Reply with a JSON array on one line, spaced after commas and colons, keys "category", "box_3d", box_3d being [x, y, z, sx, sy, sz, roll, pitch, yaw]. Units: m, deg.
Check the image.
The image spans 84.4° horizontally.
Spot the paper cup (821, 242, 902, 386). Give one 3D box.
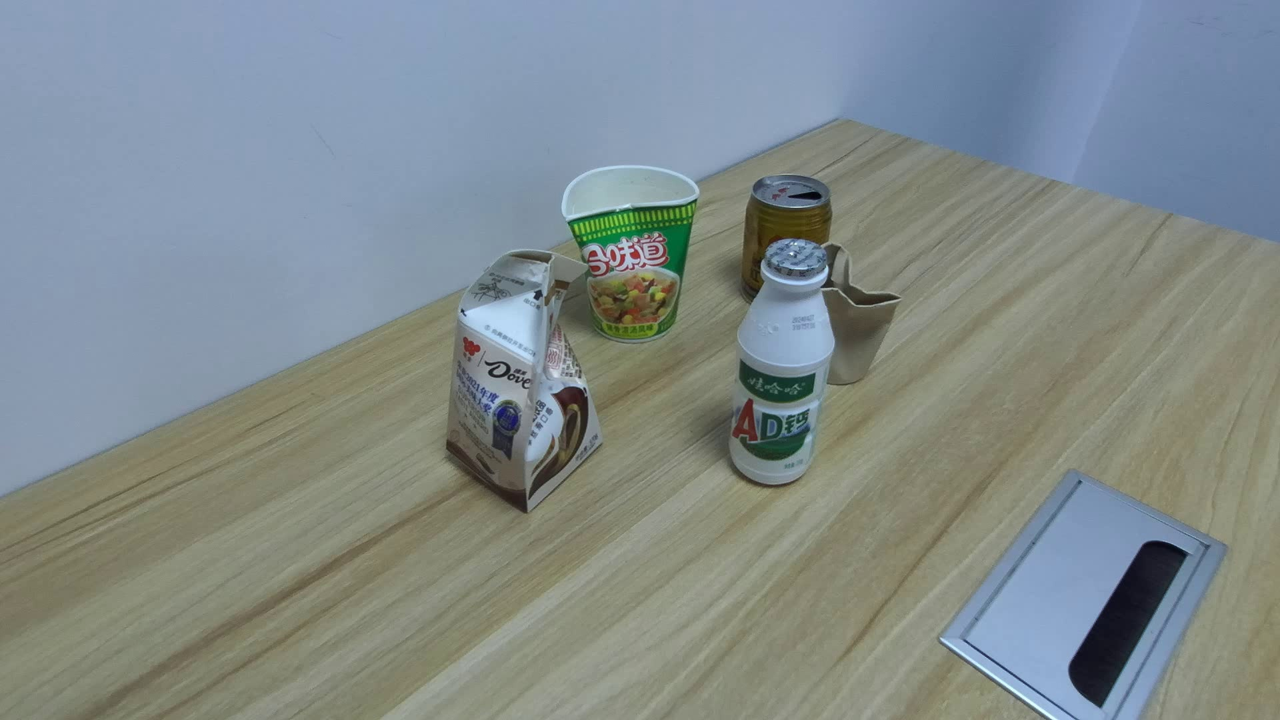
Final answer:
[{"category": "paper cup", "box_3d": [0.141, -0.028, 0.485, 0.058, 0.083, 0.066, 11, 41, 11]}]

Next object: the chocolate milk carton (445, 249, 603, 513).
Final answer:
[{"category": "chocolate milk carton", "box_3d": [-0.065, 0.002, 0.414, 0.076, 0.155, 0.089, 24, 31, 25]}]

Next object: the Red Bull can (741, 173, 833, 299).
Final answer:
[{"category": "Red Bull can", "box_3d": [0.114, -0.091, 0.557, 0.068, 0.093, 0.068, 0, 36, 0]}]

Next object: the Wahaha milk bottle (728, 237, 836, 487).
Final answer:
[{"category": "Wahaha milk bottle", "box_3d": [0.079, 0.005, 0.395, 0.053, 0.147, 0.053, -2, 38, 2]}]

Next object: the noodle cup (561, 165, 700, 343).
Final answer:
[{"category": "noodle cup", "box_3d": [-0.004, -0.078, 0.533, 0.093, 0.109, 0.087, 3, 38, 7]}]
